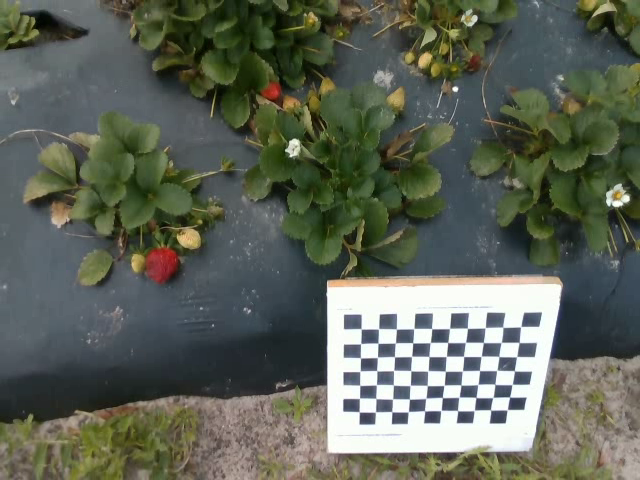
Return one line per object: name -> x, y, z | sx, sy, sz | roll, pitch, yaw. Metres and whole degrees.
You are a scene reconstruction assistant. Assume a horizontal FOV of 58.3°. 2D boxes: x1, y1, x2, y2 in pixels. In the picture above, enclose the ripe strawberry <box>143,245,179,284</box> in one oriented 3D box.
ripe strawberry -> -0.213, 0.038, 0.758 | 0.046, 0.059, 0.046 | -5, -44, 4
